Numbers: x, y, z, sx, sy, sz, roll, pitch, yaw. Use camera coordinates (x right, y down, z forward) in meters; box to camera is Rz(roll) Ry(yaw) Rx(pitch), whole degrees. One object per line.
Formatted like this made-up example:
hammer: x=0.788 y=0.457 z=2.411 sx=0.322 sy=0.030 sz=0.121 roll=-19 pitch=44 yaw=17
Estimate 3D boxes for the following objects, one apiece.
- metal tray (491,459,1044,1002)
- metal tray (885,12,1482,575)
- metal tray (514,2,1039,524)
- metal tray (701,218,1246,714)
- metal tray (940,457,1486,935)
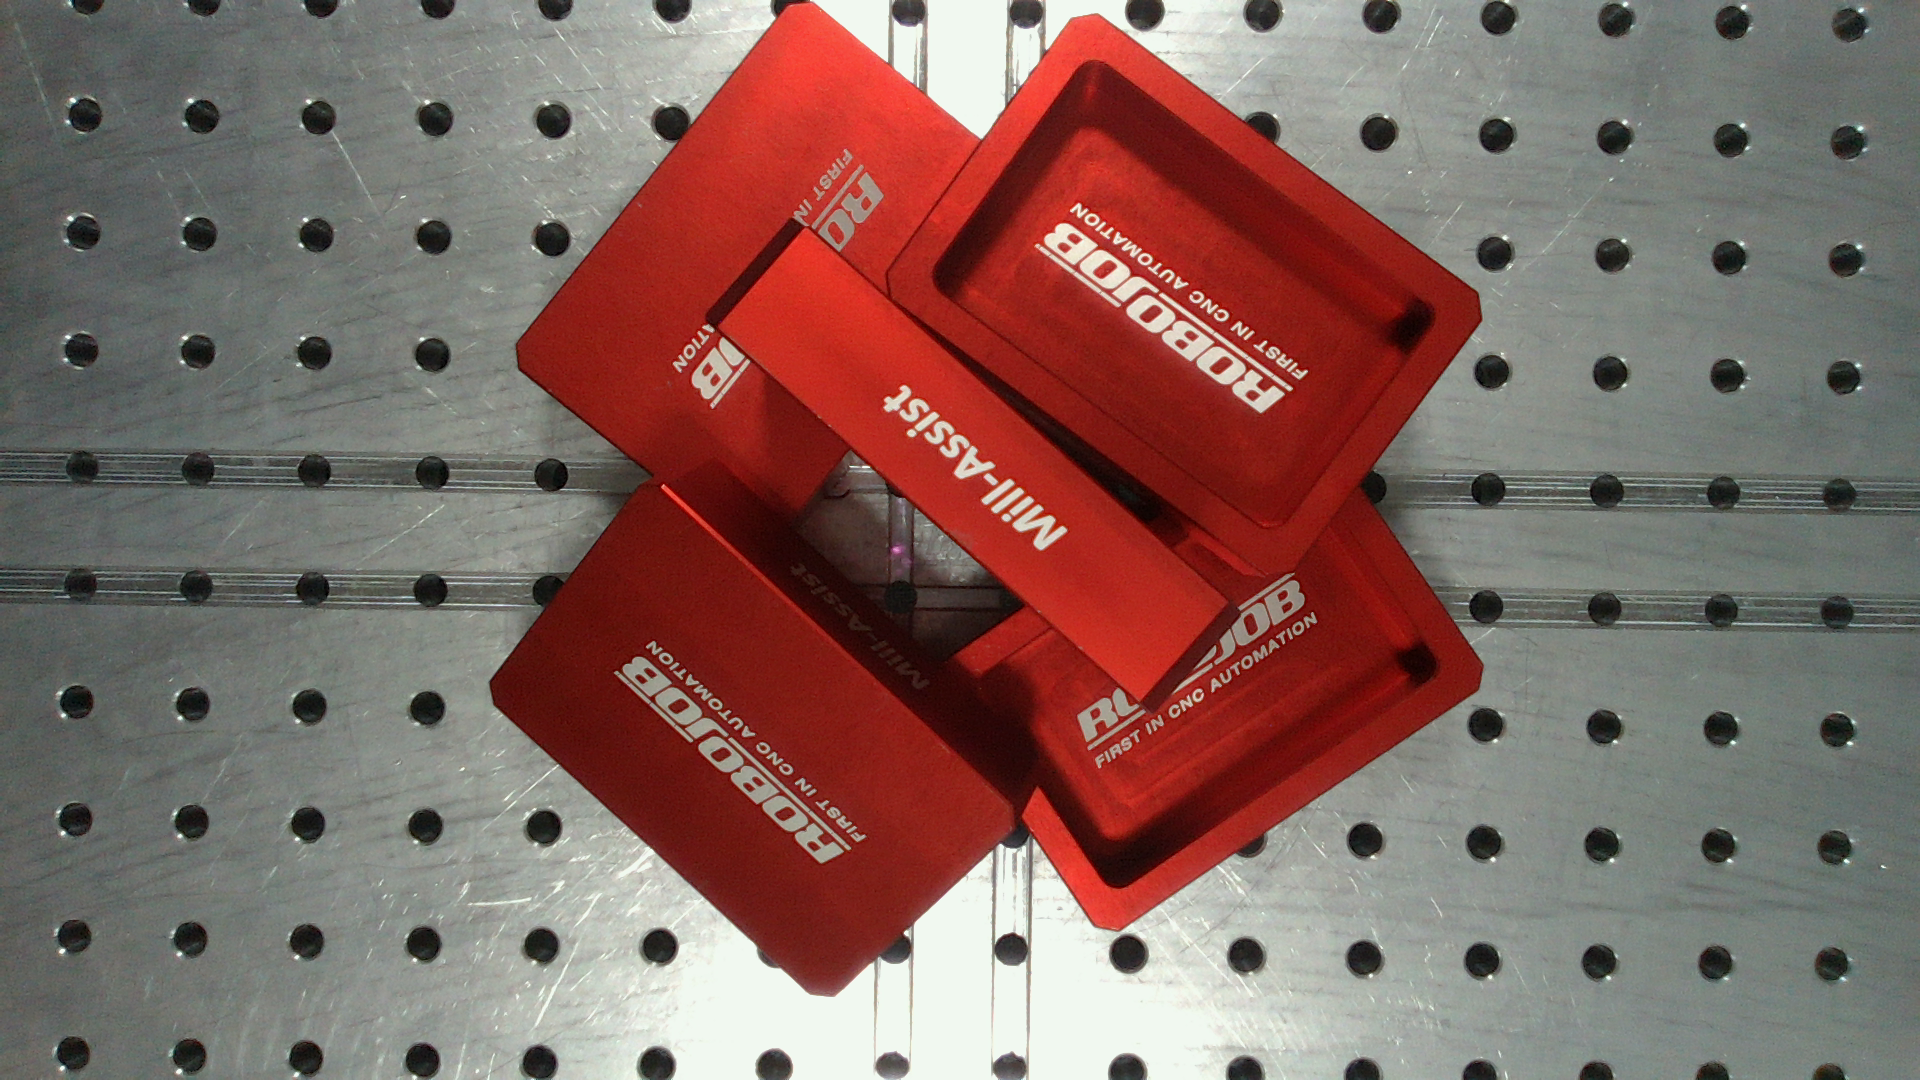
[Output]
metal tray: x=-0.054 y=0.053 z=0.377 sx=0.130 sy=0.030 sz=0.090 roll=42 pitch=115 yaw=0
metal tray: x=0.057 y=-0.063 z=0.365 sx=0.130 sy=0.030 sz=0.090 roll=36 pitch=90 yaw=0
metal tray: x=-0.050 y=-0.073 z=0.394 sx=0.090 sy=0.030 sz=0.130 roll=39 pitch=90 yaw=0
metal tray: x=0.003 y=-0.016 z=0.334 sx=0.130 sy=0.090 sz=0.030 roll=41 pitch=90 yaw=0
metal tray: x=0.069 y=0.039 z=0.394 sx=0.130 sy=0.030 sz=0.090 roll=-34 pitch=90 yaw=0
